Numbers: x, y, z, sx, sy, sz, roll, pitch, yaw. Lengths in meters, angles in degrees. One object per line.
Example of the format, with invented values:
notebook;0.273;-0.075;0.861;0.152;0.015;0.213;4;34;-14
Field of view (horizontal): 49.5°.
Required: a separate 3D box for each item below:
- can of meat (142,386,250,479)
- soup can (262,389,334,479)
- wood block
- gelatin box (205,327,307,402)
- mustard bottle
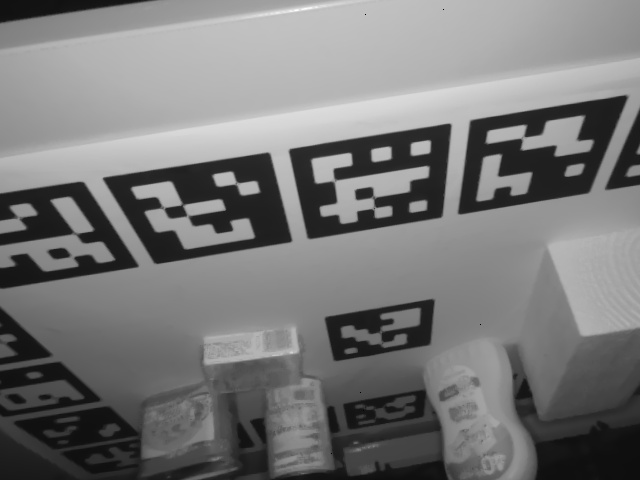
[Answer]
can of meat;-0.124;0.200;0.698;0.101;0.084;0.058;-16;141;12
soup can;-0.023;0.213;0.707;0.068;0.102;0.067;-6;140;-4
wood block;0.254;0.089;0.637;0.091;0.090;0.205;-7;146;0
gelatin box;-0.059;0.115;0.640;0.090;0.030;0.072;-5;140;-11
mustard bottle;0.172;0.204;0.688;0.095;0.192;0.059;-24;140;20
